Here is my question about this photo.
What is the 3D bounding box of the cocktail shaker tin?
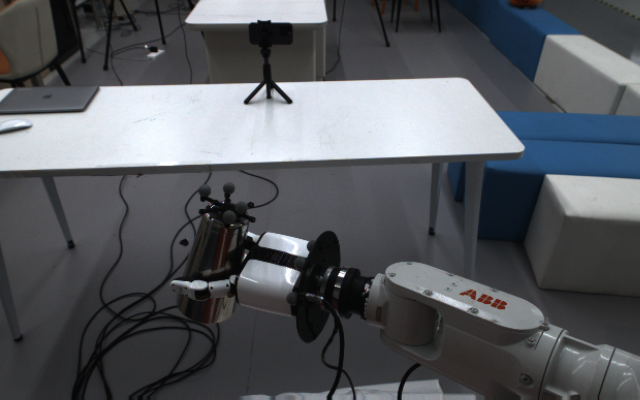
[{"bbox_3d":[-0.155,0.087,0.723,0.093,0.170,0.093,15,27,-8],"label":"cocktail shaker tin"}]
